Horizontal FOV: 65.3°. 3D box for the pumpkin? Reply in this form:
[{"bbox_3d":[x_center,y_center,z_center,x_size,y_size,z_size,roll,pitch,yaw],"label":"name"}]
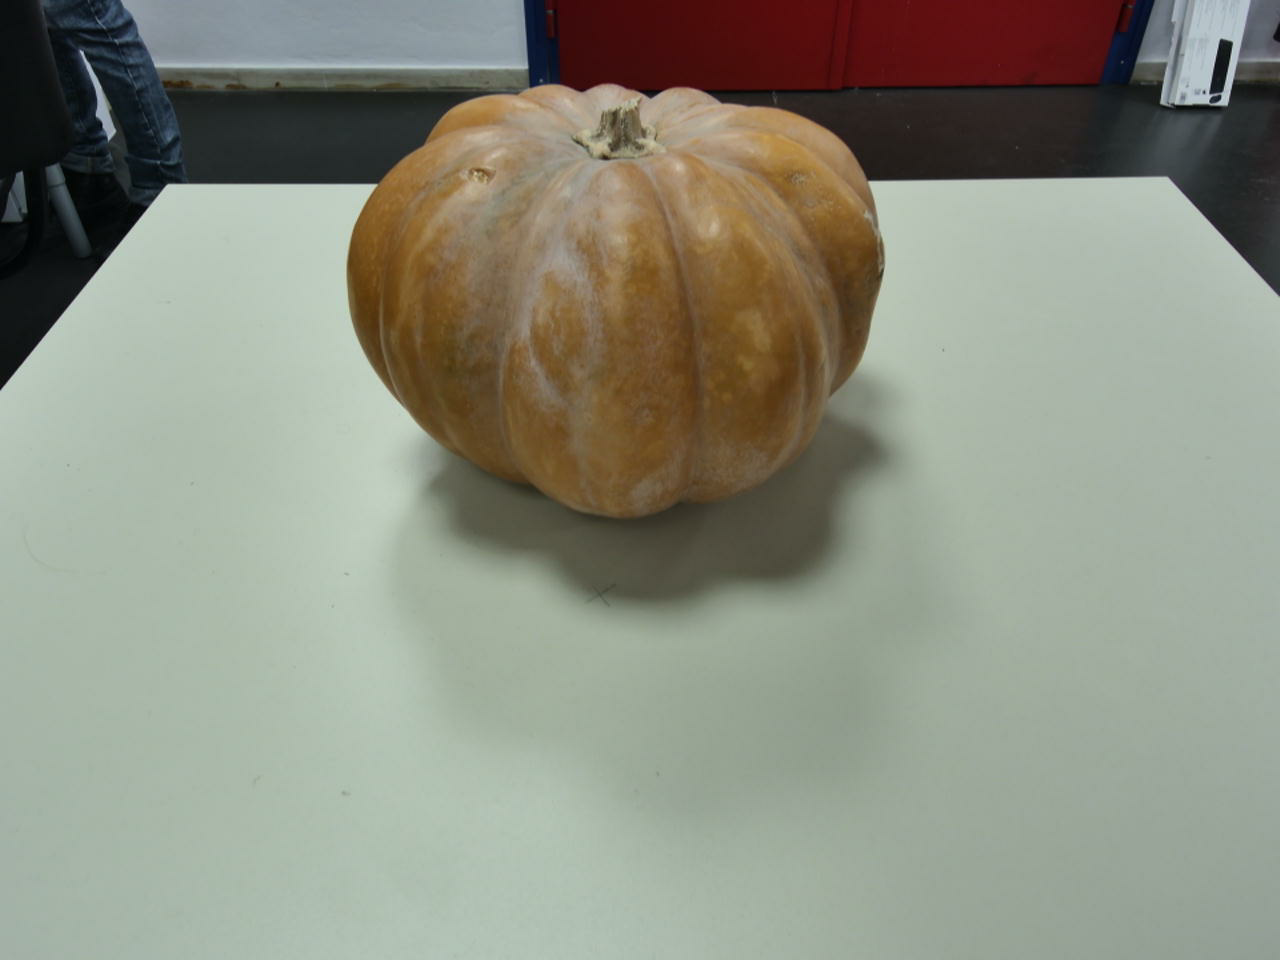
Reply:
[{"bbox_3d":[-0.011,-0.099,0.509,0.277,0.181,0.277,0,39,0],"label":"pumpkin"}]
